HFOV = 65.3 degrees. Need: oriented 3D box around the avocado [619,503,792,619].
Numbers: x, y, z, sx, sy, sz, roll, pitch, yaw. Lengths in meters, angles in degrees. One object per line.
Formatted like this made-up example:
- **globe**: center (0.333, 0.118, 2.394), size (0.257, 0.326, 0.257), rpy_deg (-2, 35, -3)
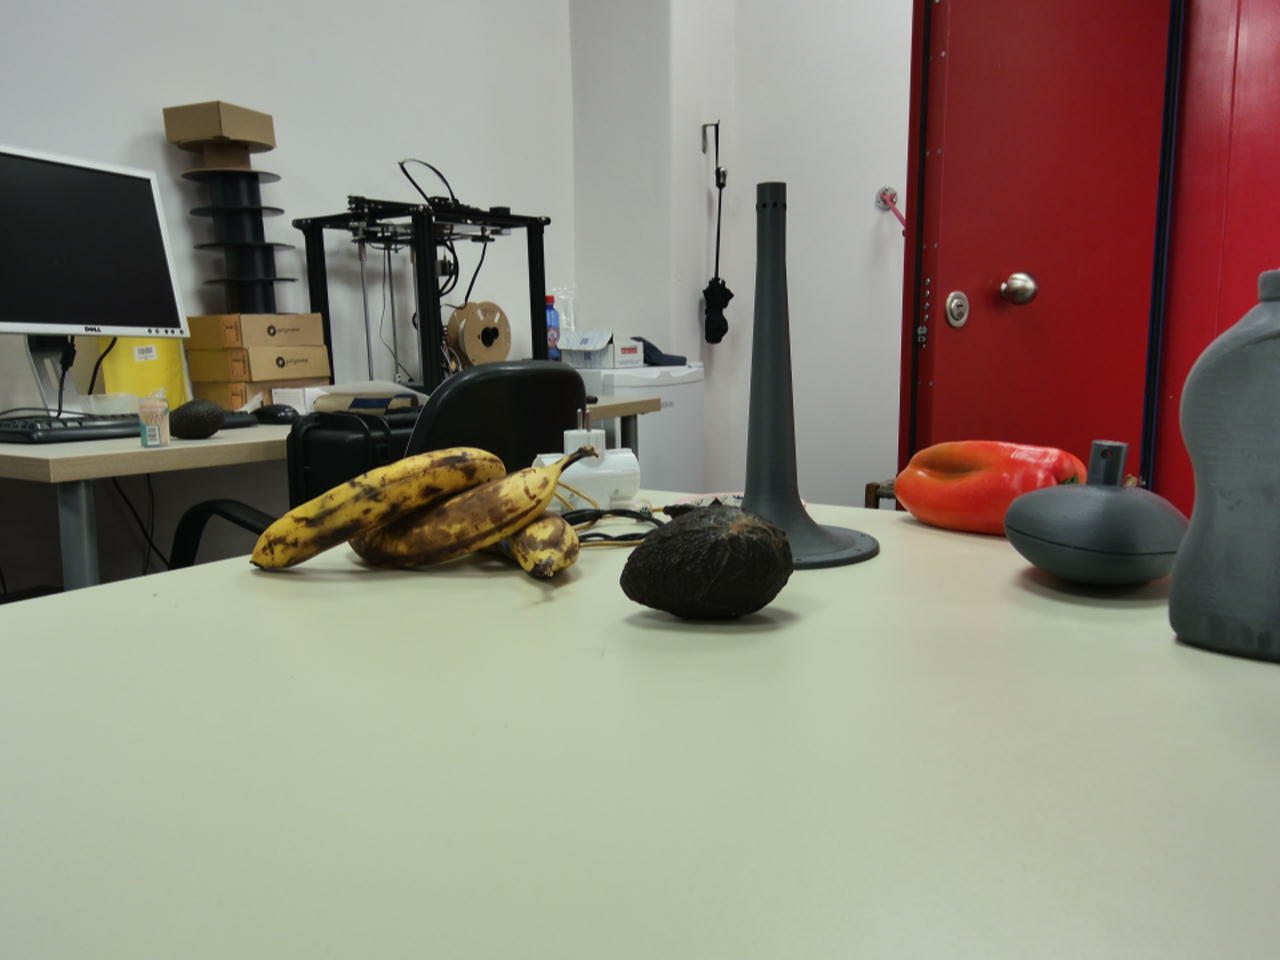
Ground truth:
- **avocado**: center (0.036, 0.044, 0.545), size (0.092, 0.062, 0.062), rpy_deg (2, 6, 12)
